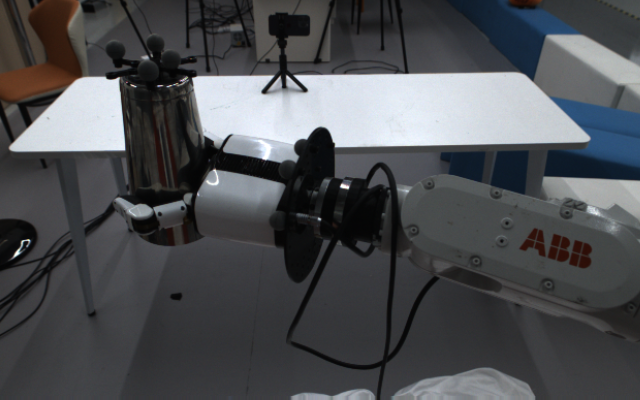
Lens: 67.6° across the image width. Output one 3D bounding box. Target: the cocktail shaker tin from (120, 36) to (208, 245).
[{"bbox_3d":[-0.157,-0.047,0.504,0.093,0.170,0.093,2,35,-2],"label":"cocktail shaker tin"}]
